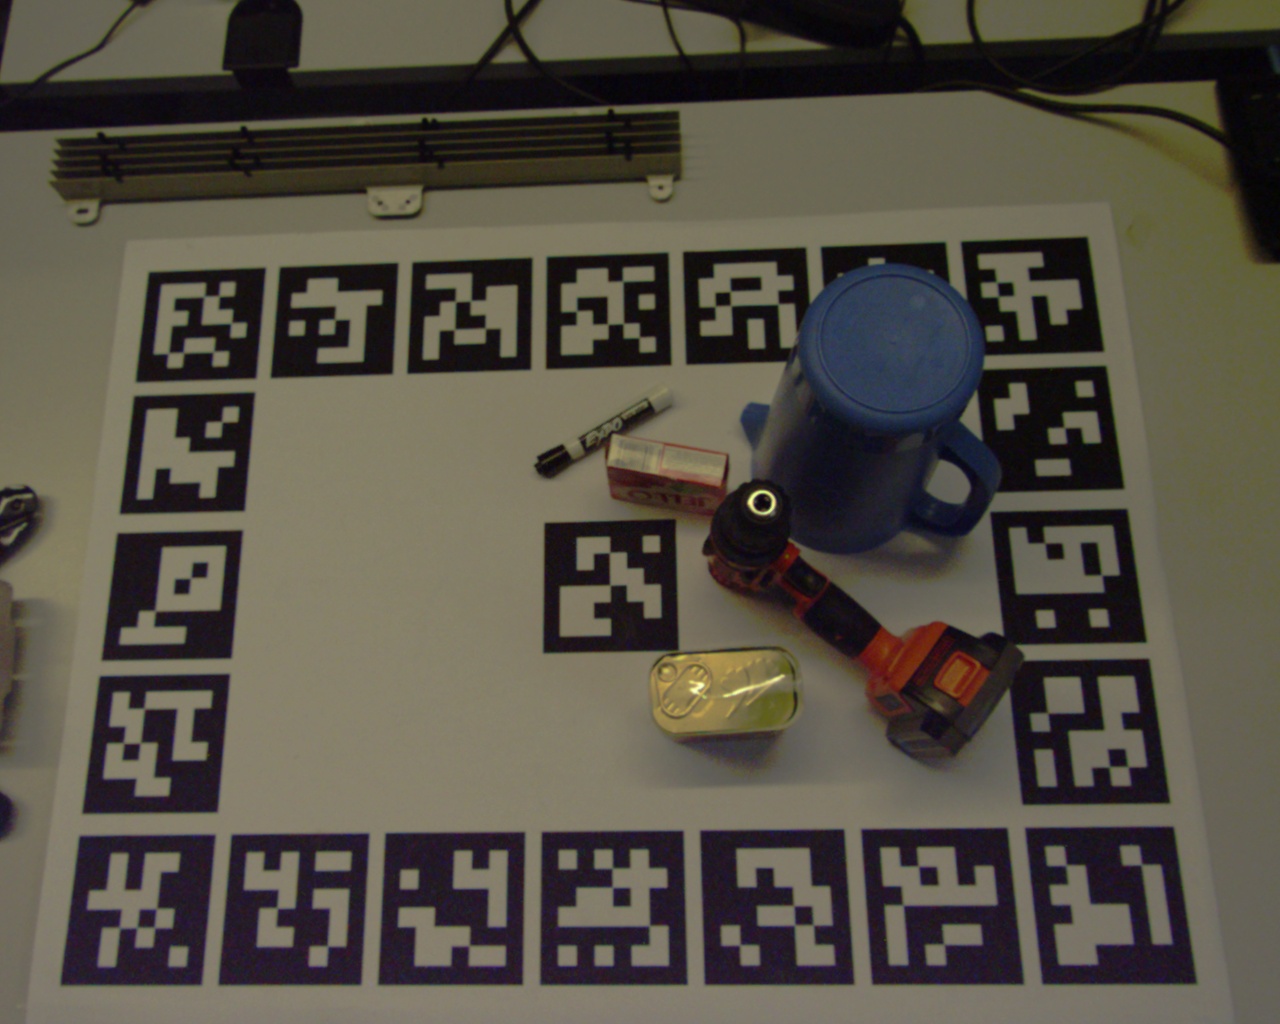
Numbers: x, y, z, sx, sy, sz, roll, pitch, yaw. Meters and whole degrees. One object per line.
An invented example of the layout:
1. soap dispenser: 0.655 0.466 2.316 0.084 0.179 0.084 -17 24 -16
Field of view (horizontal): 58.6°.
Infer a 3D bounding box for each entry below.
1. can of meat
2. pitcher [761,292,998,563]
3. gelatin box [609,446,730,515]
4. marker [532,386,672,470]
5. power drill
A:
1. can of meat: 0.052 0.133 0.826 0.102 0.083 0.058 -2 73 2
2. pitcher: 0.164 -0.049 0.799 0.190 0.241 0.133 30 81 17
3. gelatin box: 0.022 -0.022 0.880 0.089 0.073 0.030 10 79 4
4. marker: -0.032 -0.067 0.920 0.121 0.019 0.020 -27 76 -3
5. power drill: 0.118 0.058 0.796 0.187 0.184 0.057 34 81 5
